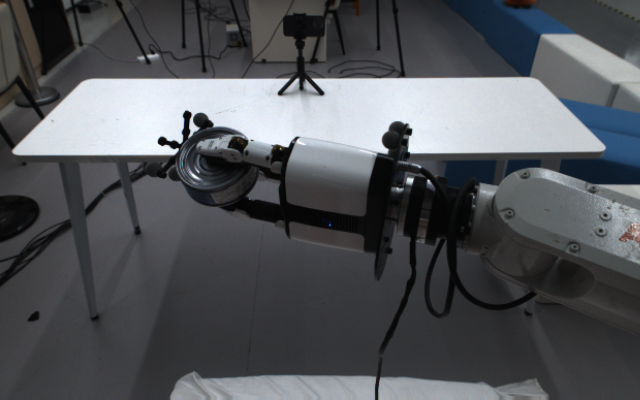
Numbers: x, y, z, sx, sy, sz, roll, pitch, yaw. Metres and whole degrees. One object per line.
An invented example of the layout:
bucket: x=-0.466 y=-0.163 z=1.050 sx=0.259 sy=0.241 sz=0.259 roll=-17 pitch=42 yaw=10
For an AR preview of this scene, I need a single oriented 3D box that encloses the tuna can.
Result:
tuna can: x=-0.108 y=-0.034 z=0.526 sx=0.085 sy=0.034 sz=0.085 roll=-1 pitch=61 yaw=2
